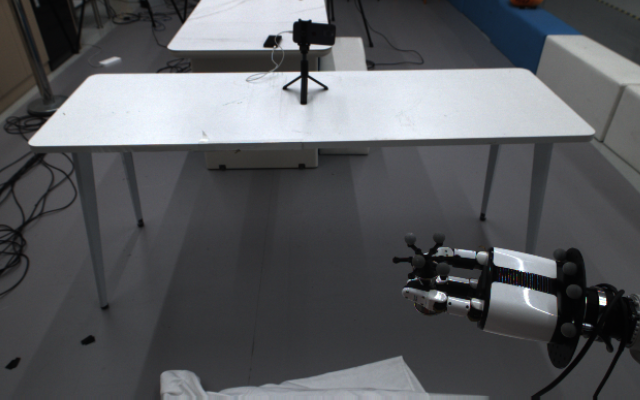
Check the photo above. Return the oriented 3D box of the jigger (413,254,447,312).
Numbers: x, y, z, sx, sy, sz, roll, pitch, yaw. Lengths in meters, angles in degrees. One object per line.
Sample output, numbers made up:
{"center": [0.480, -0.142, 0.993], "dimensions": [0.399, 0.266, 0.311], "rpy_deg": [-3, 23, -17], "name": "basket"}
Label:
{"center": [0.154, 0.120, 0.687], "dimensions": [0.043, 0.071, 0.043], "rpy_deg": [-9, 31, 5], "name": "jigger"}
